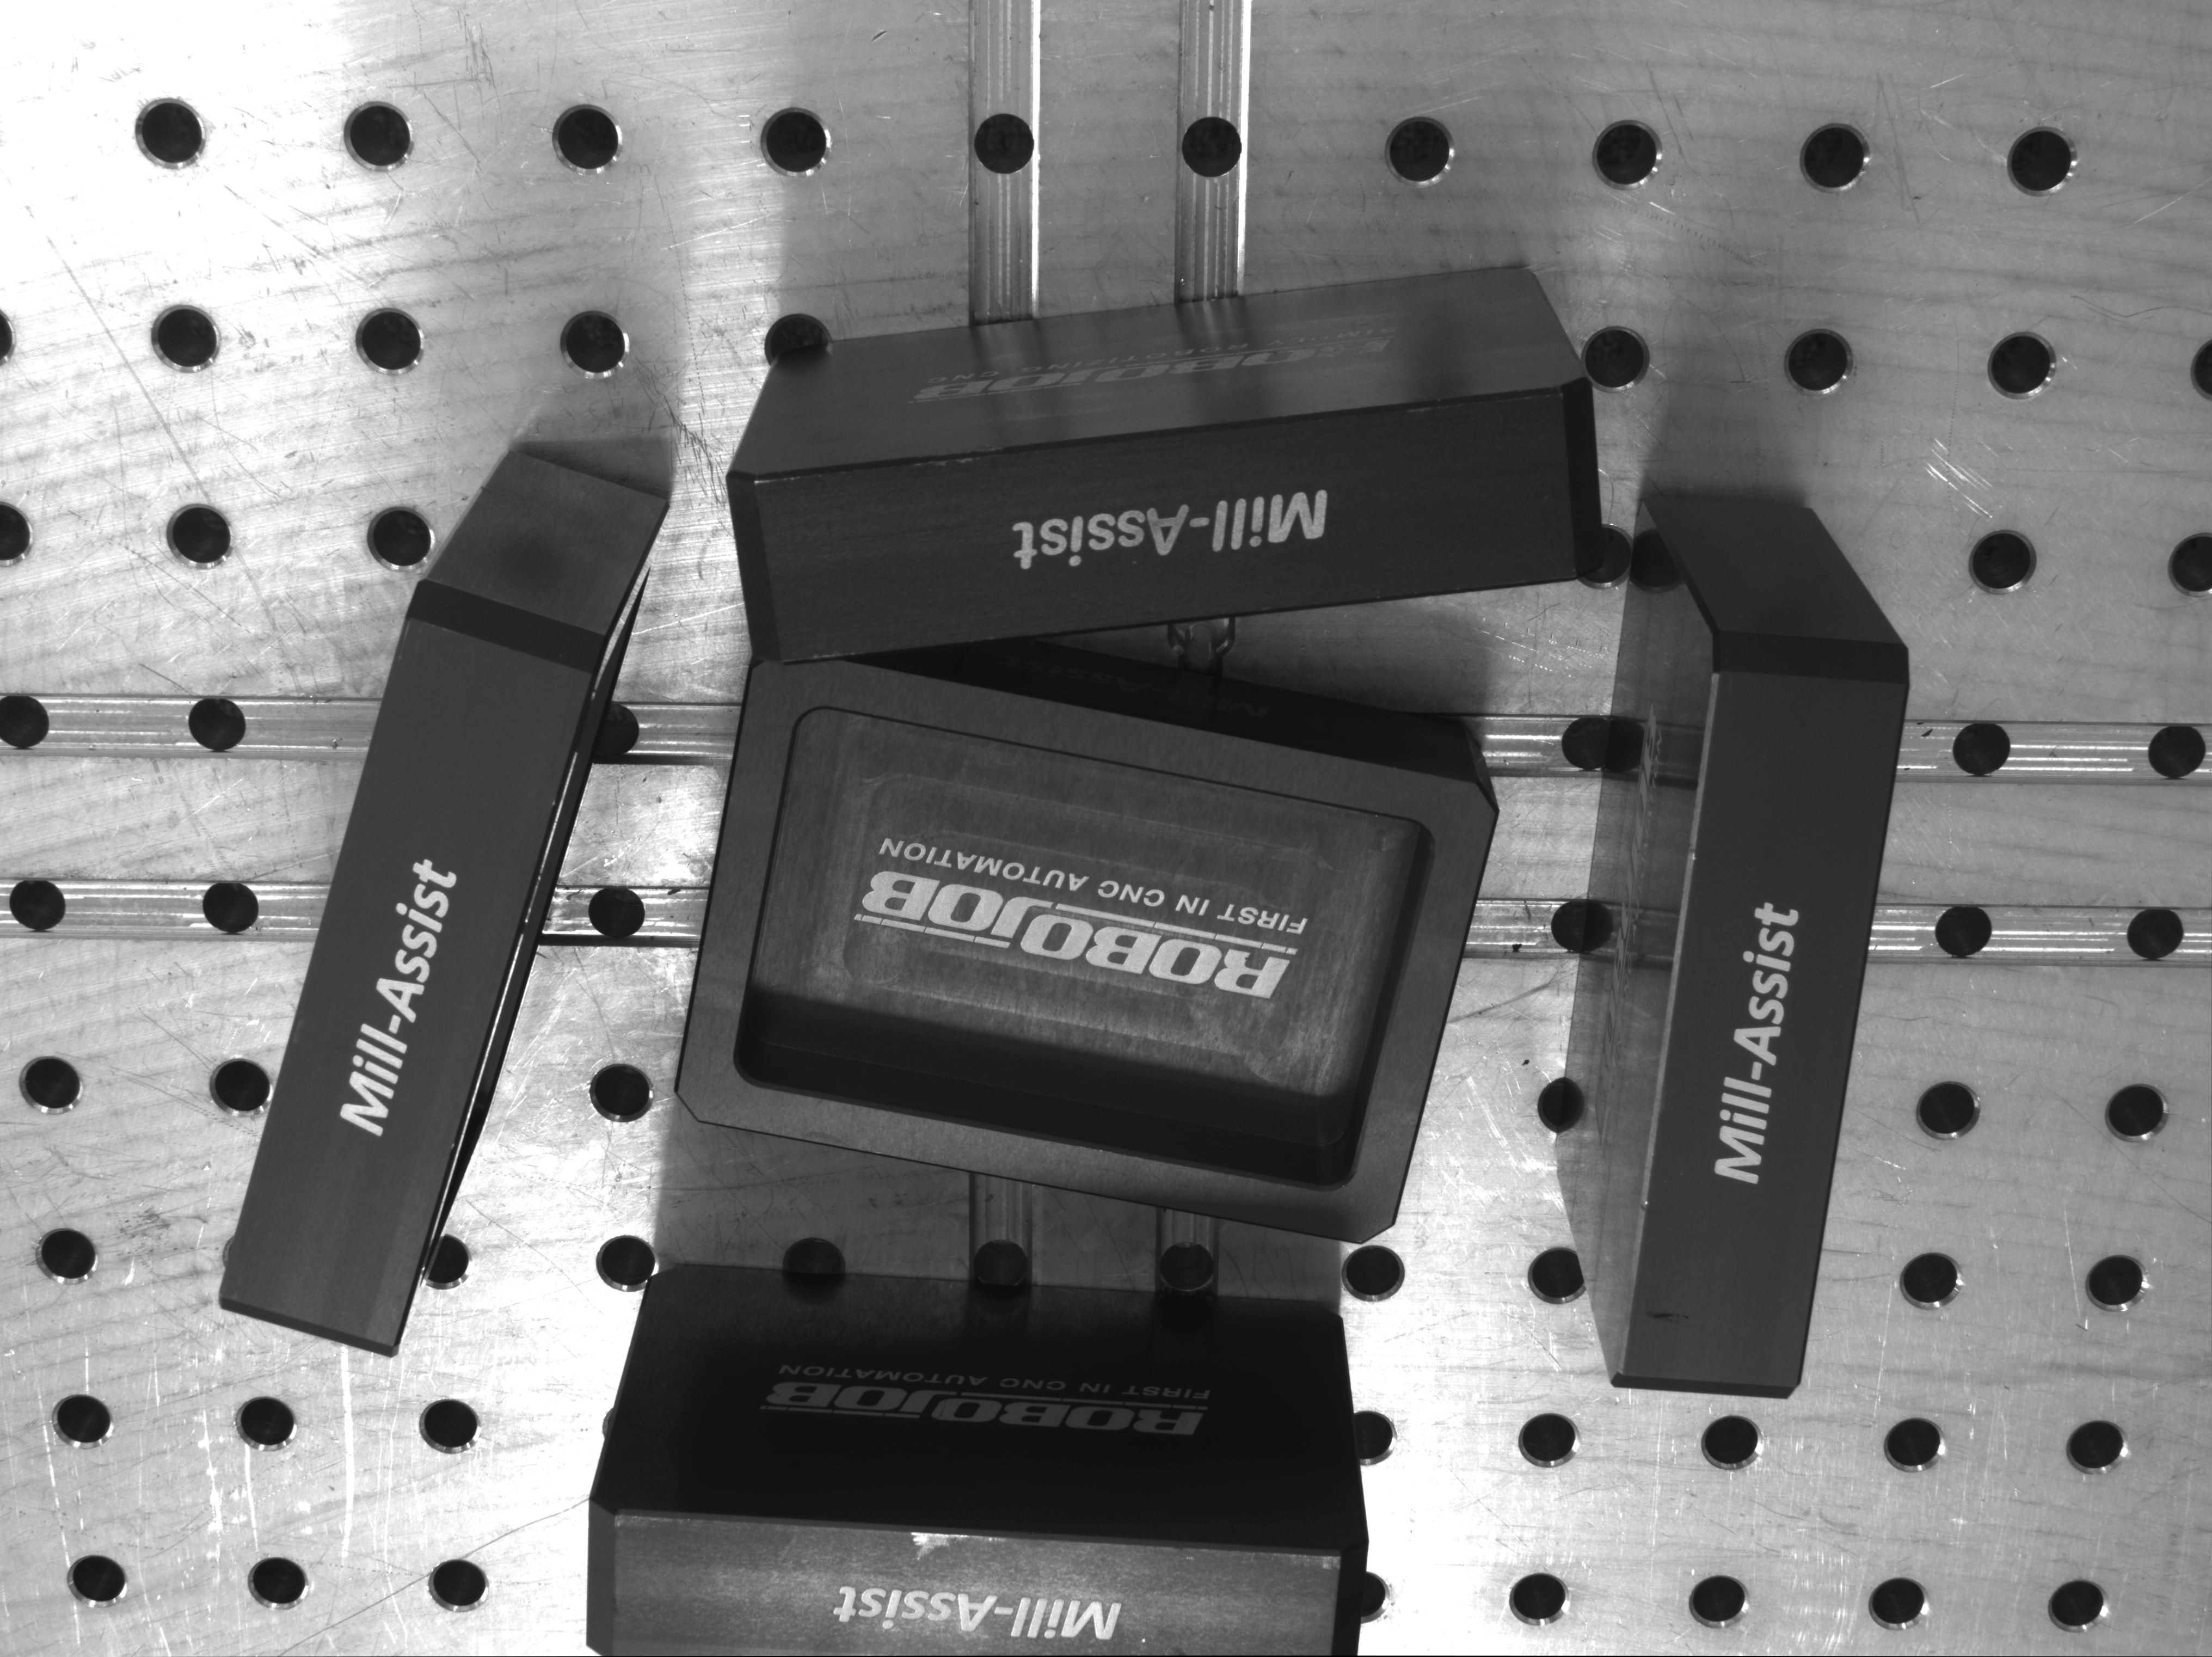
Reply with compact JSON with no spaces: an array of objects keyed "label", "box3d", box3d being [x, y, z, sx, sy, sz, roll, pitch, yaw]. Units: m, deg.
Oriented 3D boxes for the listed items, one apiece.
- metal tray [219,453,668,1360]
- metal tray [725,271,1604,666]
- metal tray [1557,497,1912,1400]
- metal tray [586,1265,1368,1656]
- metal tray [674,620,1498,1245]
[{"label":"metal tray","box3d":[-0.110,0.011,0.616,0.030,0.090,0.130,17,109,-6]},{"label":"metal tray","box3d":[0.009,-0.060,0.590,0.130,0.090,0.030,-6,110,2]},{"label":"metal tray","box3d":[0.103,0.018,0.619,0.030,0.090,0.130,4,110,-1]},{"label":"metal tray","box3d":[-0.022,0.115,0.654,0.130,0.090,0.030,4,110,-1]},{"label":"metal tray","box3d":[-0.004,0.017,0.650,0.130,0.030,0.090,10,110,-4]}]
